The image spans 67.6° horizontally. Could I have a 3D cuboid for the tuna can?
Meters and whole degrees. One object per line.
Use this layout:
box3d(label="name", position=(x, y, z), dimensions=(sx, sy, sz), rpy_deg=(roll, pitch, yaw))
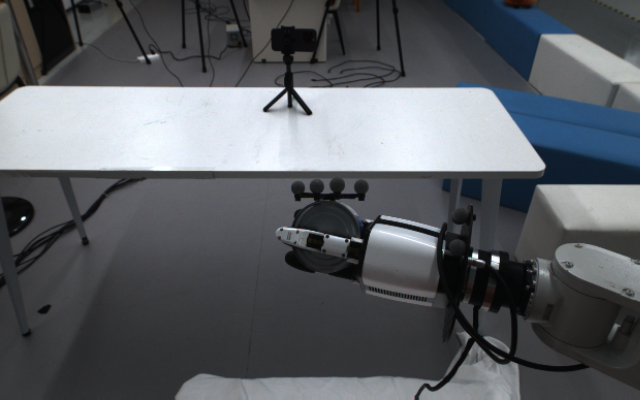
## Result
box3d(label="tuna can", position=(0.011, 0.042, 0.582), dimensions=(0.085, 0.085, 0.034), rpy_deg=(15, 2, 18))
